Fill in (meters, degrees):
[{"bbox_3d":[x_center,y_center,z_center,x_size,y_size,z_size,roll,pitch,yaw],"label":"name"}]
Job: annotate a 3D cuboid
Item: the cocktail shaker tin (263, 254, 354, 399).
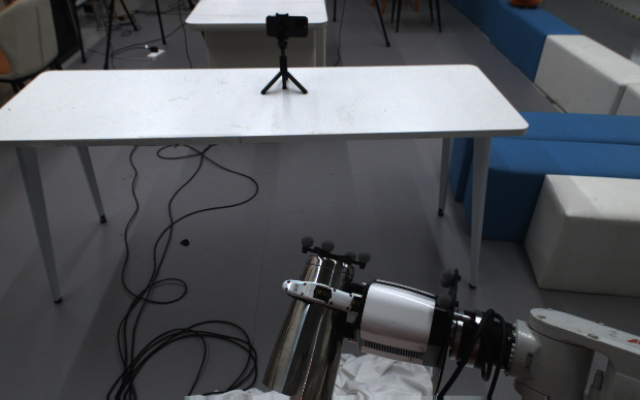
[{"bbox_3d":[-0.004,0.162,0.633,0.093,0.093,0.170,12,77,15],"label":"cocktail shaker tin"}]
